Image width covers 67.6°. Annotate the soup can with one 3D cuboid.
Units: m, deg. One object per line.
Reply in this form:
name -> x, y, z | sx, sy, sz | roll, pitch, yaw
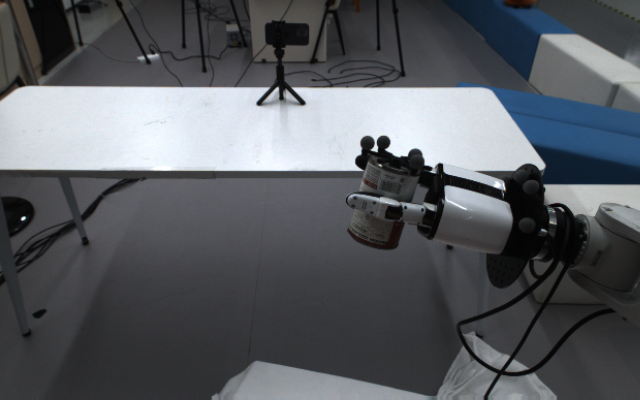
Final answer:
soup can -> 0.082, 0.002, 0.607 | 0.067, 0.101, 0.067 | 13, 18, -4
